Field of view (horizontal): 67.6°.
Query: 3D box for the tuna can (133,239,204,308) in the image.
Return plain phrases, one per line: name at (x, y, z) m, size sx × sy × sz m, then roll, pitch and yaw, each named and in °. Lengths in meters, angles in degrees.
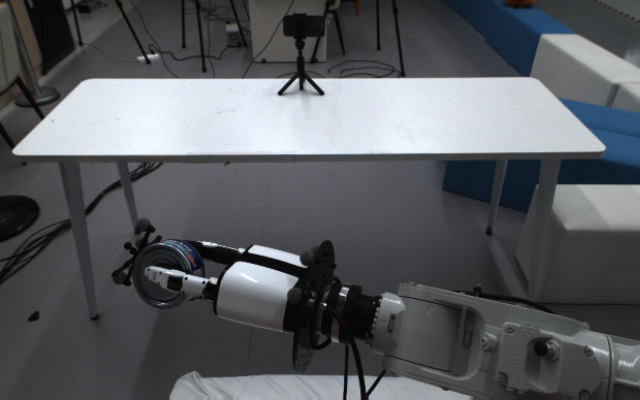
tuna can at (-0.190, 0.097, 0.615) m, size 0.085 × 0.085 × 0.034 m, roll 8°, pitch 7°, yaw 9°
